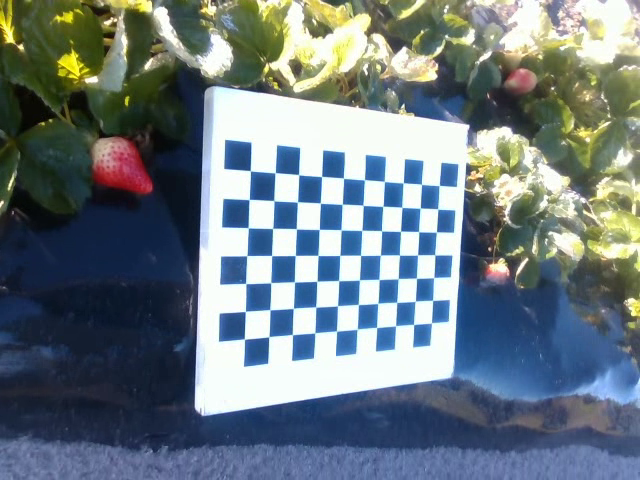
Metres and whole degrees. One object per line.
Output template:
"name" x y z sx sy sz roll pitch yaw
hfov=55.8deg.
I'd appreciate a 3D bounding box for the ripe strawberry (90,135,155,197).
"ripe strawberry" -0.166 -0.057 0.505 0.065 0.040 0.040 47 -22 -25
